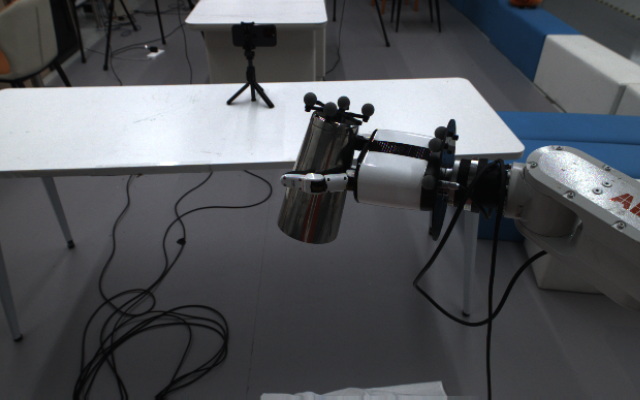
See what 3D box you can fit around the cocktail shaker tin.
[{"bbox_3d":[0.003,-0.037,0.681,0.093,0.170,0.093,12,24,-5],"label":"cocktail shaker tin"}]
